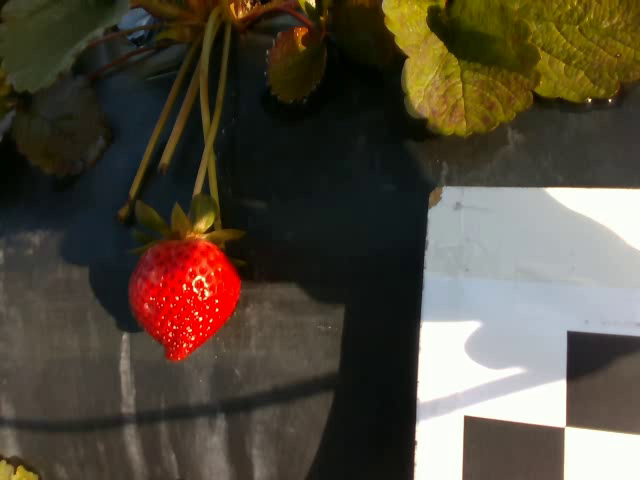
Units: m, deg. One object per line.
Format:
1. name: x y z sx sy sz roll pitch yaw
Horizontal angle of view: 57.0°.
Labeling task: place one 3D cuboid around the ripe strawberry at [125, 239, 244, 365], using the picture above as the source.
1. ripe strawberry: -0.041 0.020 0.178 0.040 0.044 0.037 -17 -26 14
